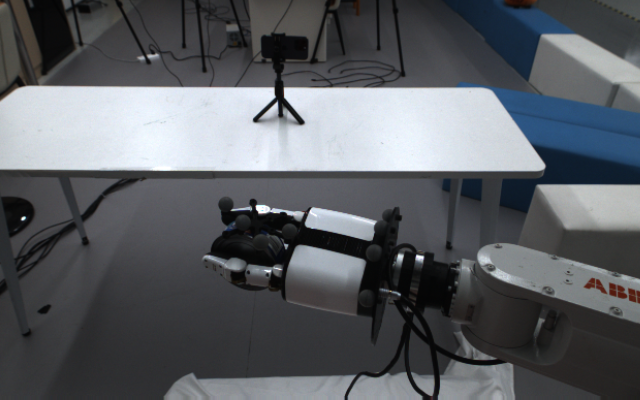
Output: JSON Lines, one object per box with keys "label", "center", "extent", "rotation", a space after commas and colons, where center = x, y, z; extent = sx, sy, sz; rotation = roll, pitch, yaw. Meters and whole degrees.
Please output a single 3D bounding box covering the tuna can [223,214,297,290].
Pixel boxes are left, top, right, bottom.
{"label": "tuna can", "center": [-0.083, 0.065, 0.581], "extent": [0.085, 0.085, 0.034], "rotation": [12, 33, 14]}
